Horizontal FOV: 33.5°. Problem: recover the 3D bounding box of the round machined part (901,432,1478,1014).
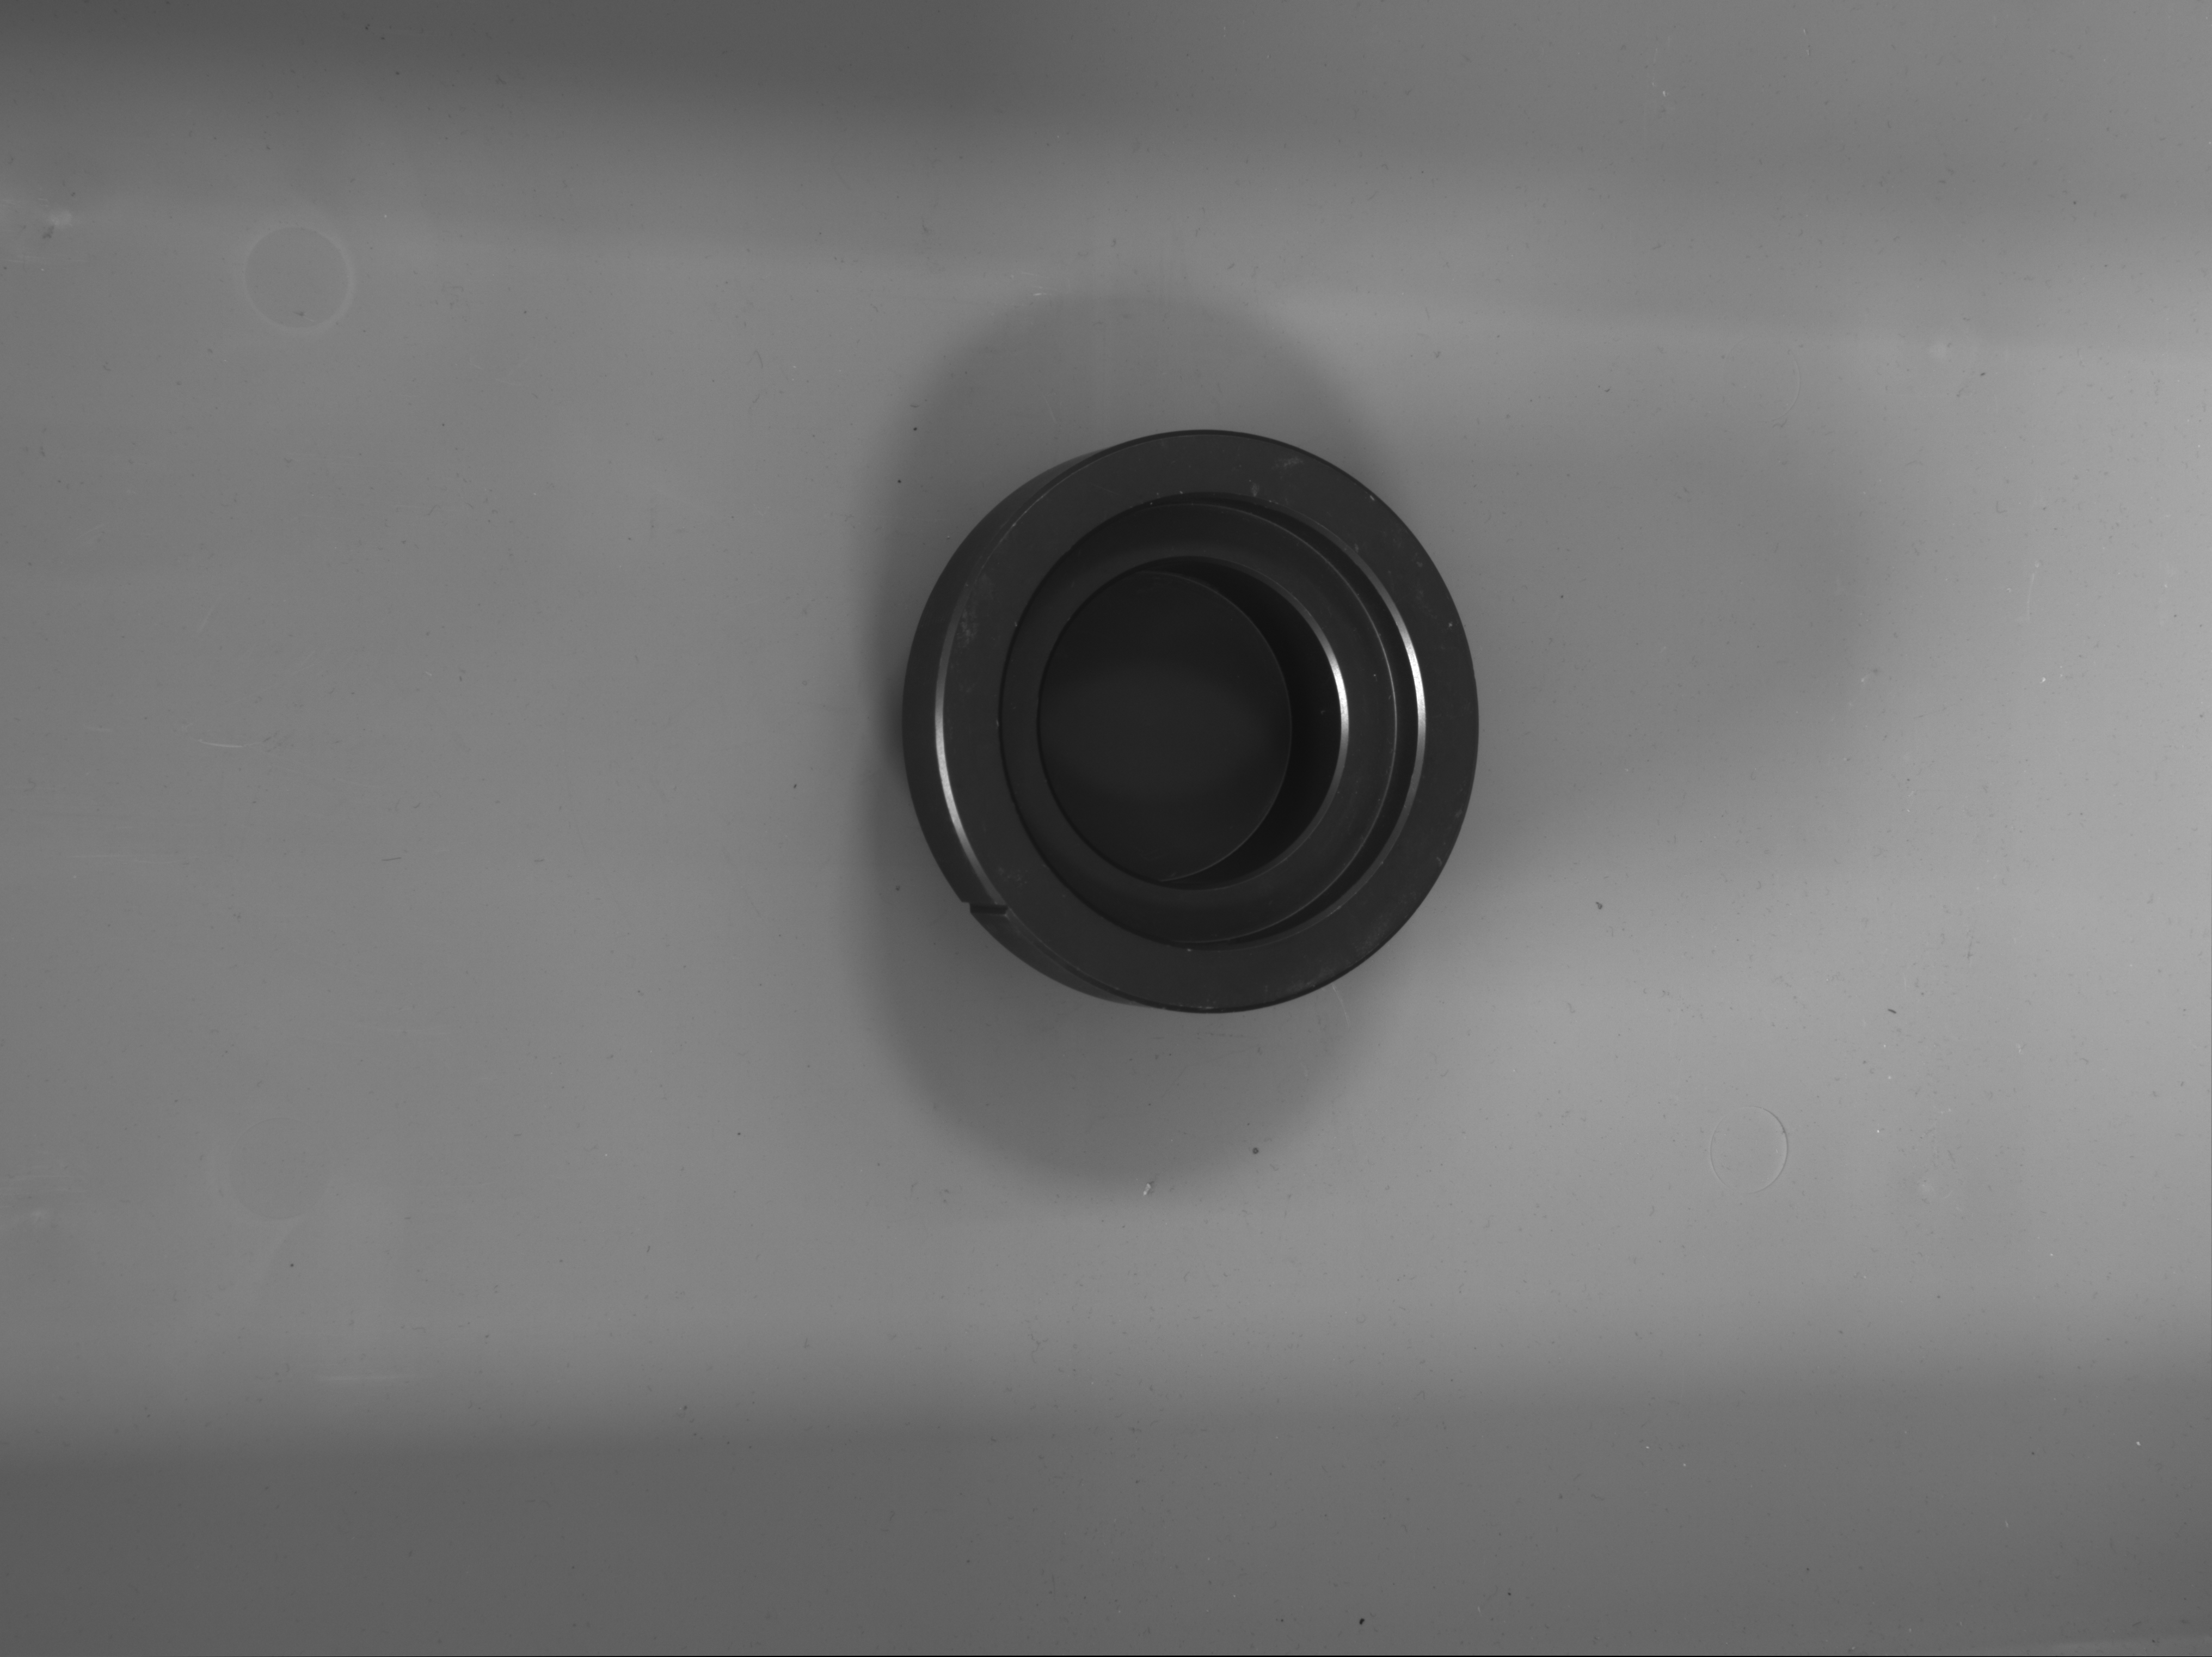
[{"bbox_3d":[0.011,-0.018,0.636,0.098,0.042,0.098,0,90,-20],"label":"round machined part"}]
